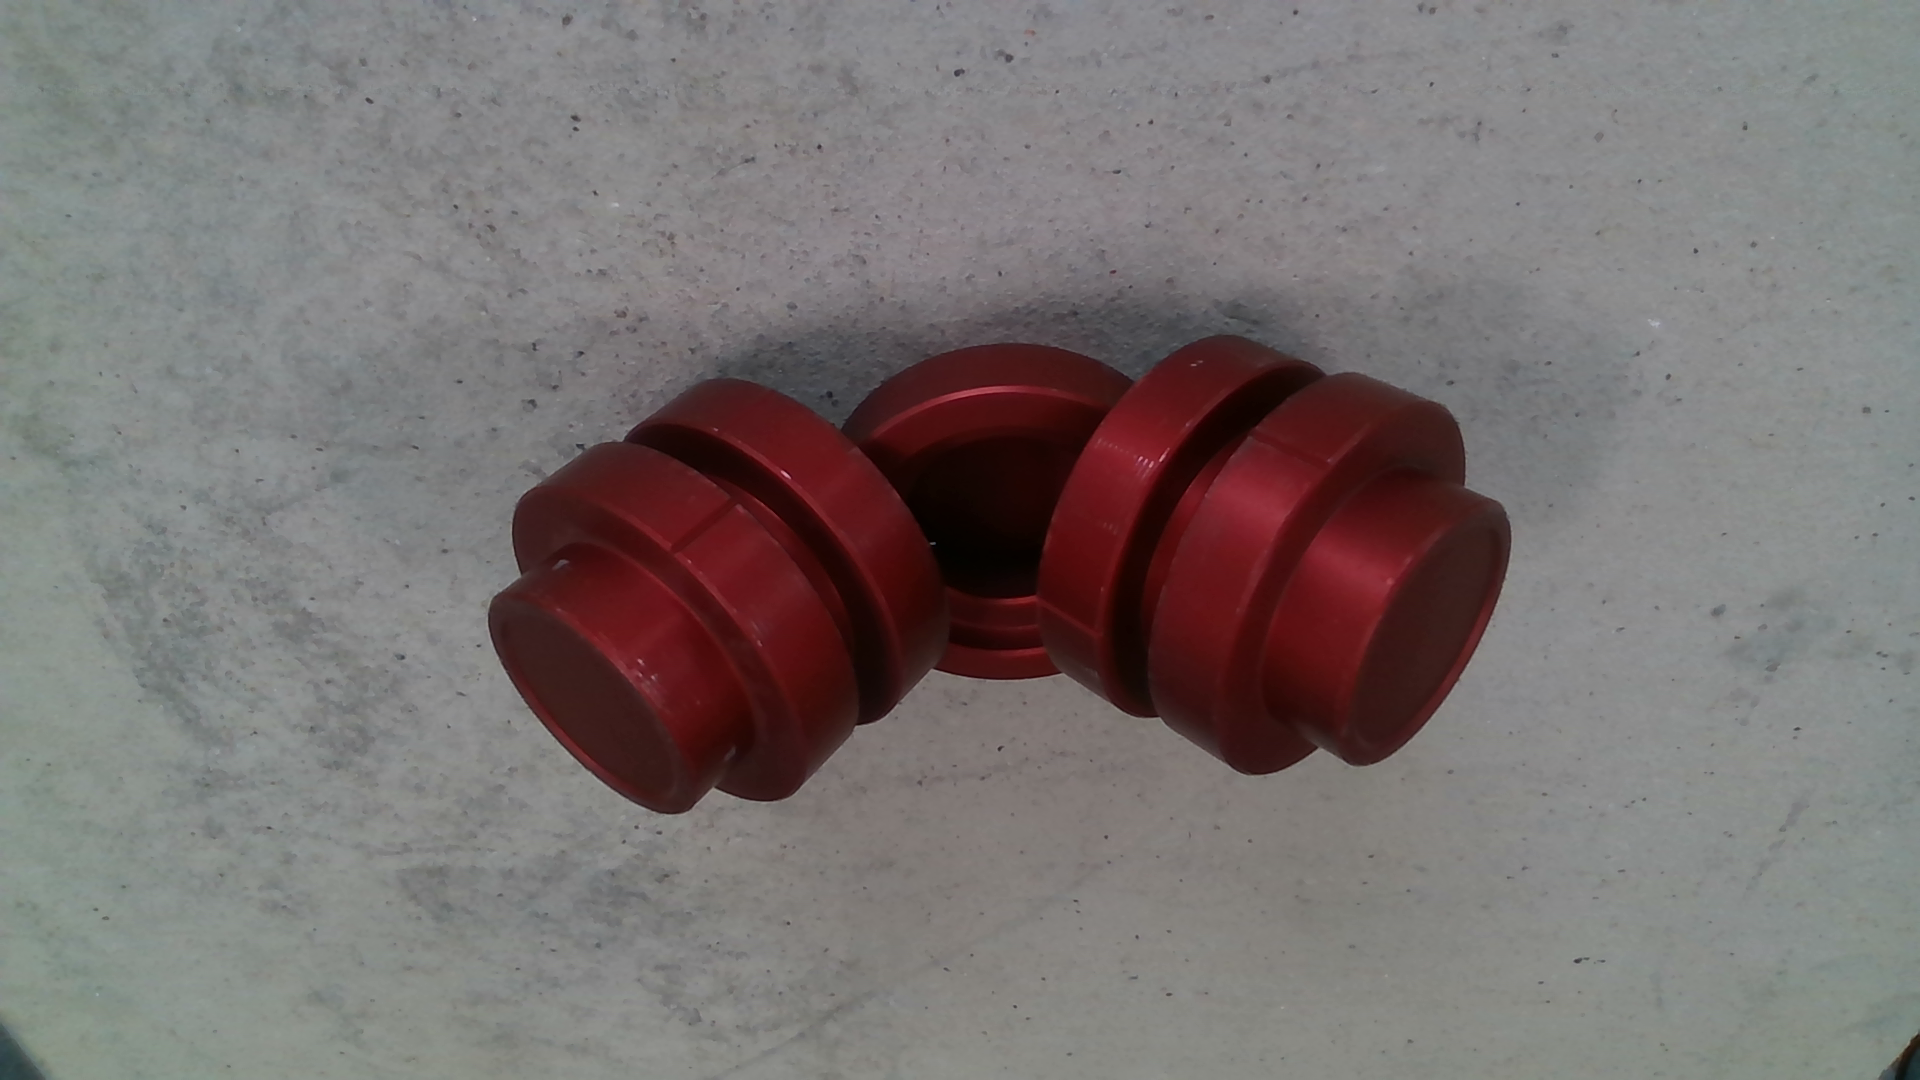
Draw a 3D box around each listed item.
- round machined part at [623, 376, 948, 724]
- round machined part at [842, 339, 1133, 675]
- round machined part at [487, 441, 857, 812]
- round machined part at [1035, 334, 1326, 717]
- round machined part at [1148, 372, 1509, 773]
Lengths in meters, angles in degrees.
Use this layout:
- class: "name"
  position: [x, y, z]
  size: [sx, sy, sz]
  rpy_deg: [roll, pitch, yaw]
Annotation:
- class: "round machined part"
  position: [-0.054, 0.011, 0.355]
  size: [0.098, 0.042, 0.098]
  rpy_deg: [27, 141, 25]
- class: "round machined part"
  position: [0.013, -0.012, 0.369]
  size: [0.098, 0.042, 0.098]
  rpy_deg: [0, 130, 0]
- class: "round machined part"
  position: [-0.076, 0.028, 0.339]
  size: [0.098, 0.042, 0.098]
  rpy_deg: [27, 141, 24]
- class: "round machined part"
  position: [0.067, 0.002, 0.344]
  size: [0.098, 0.042, 0.098]
  rpy_deg: [-28, 134, -34]
- class: "round machined part"
  position: [0.093, 0.013, 0.327]
  size: [0.098, 0.042, 0.098]
  rpy_deg: [-28, 133, -34]
